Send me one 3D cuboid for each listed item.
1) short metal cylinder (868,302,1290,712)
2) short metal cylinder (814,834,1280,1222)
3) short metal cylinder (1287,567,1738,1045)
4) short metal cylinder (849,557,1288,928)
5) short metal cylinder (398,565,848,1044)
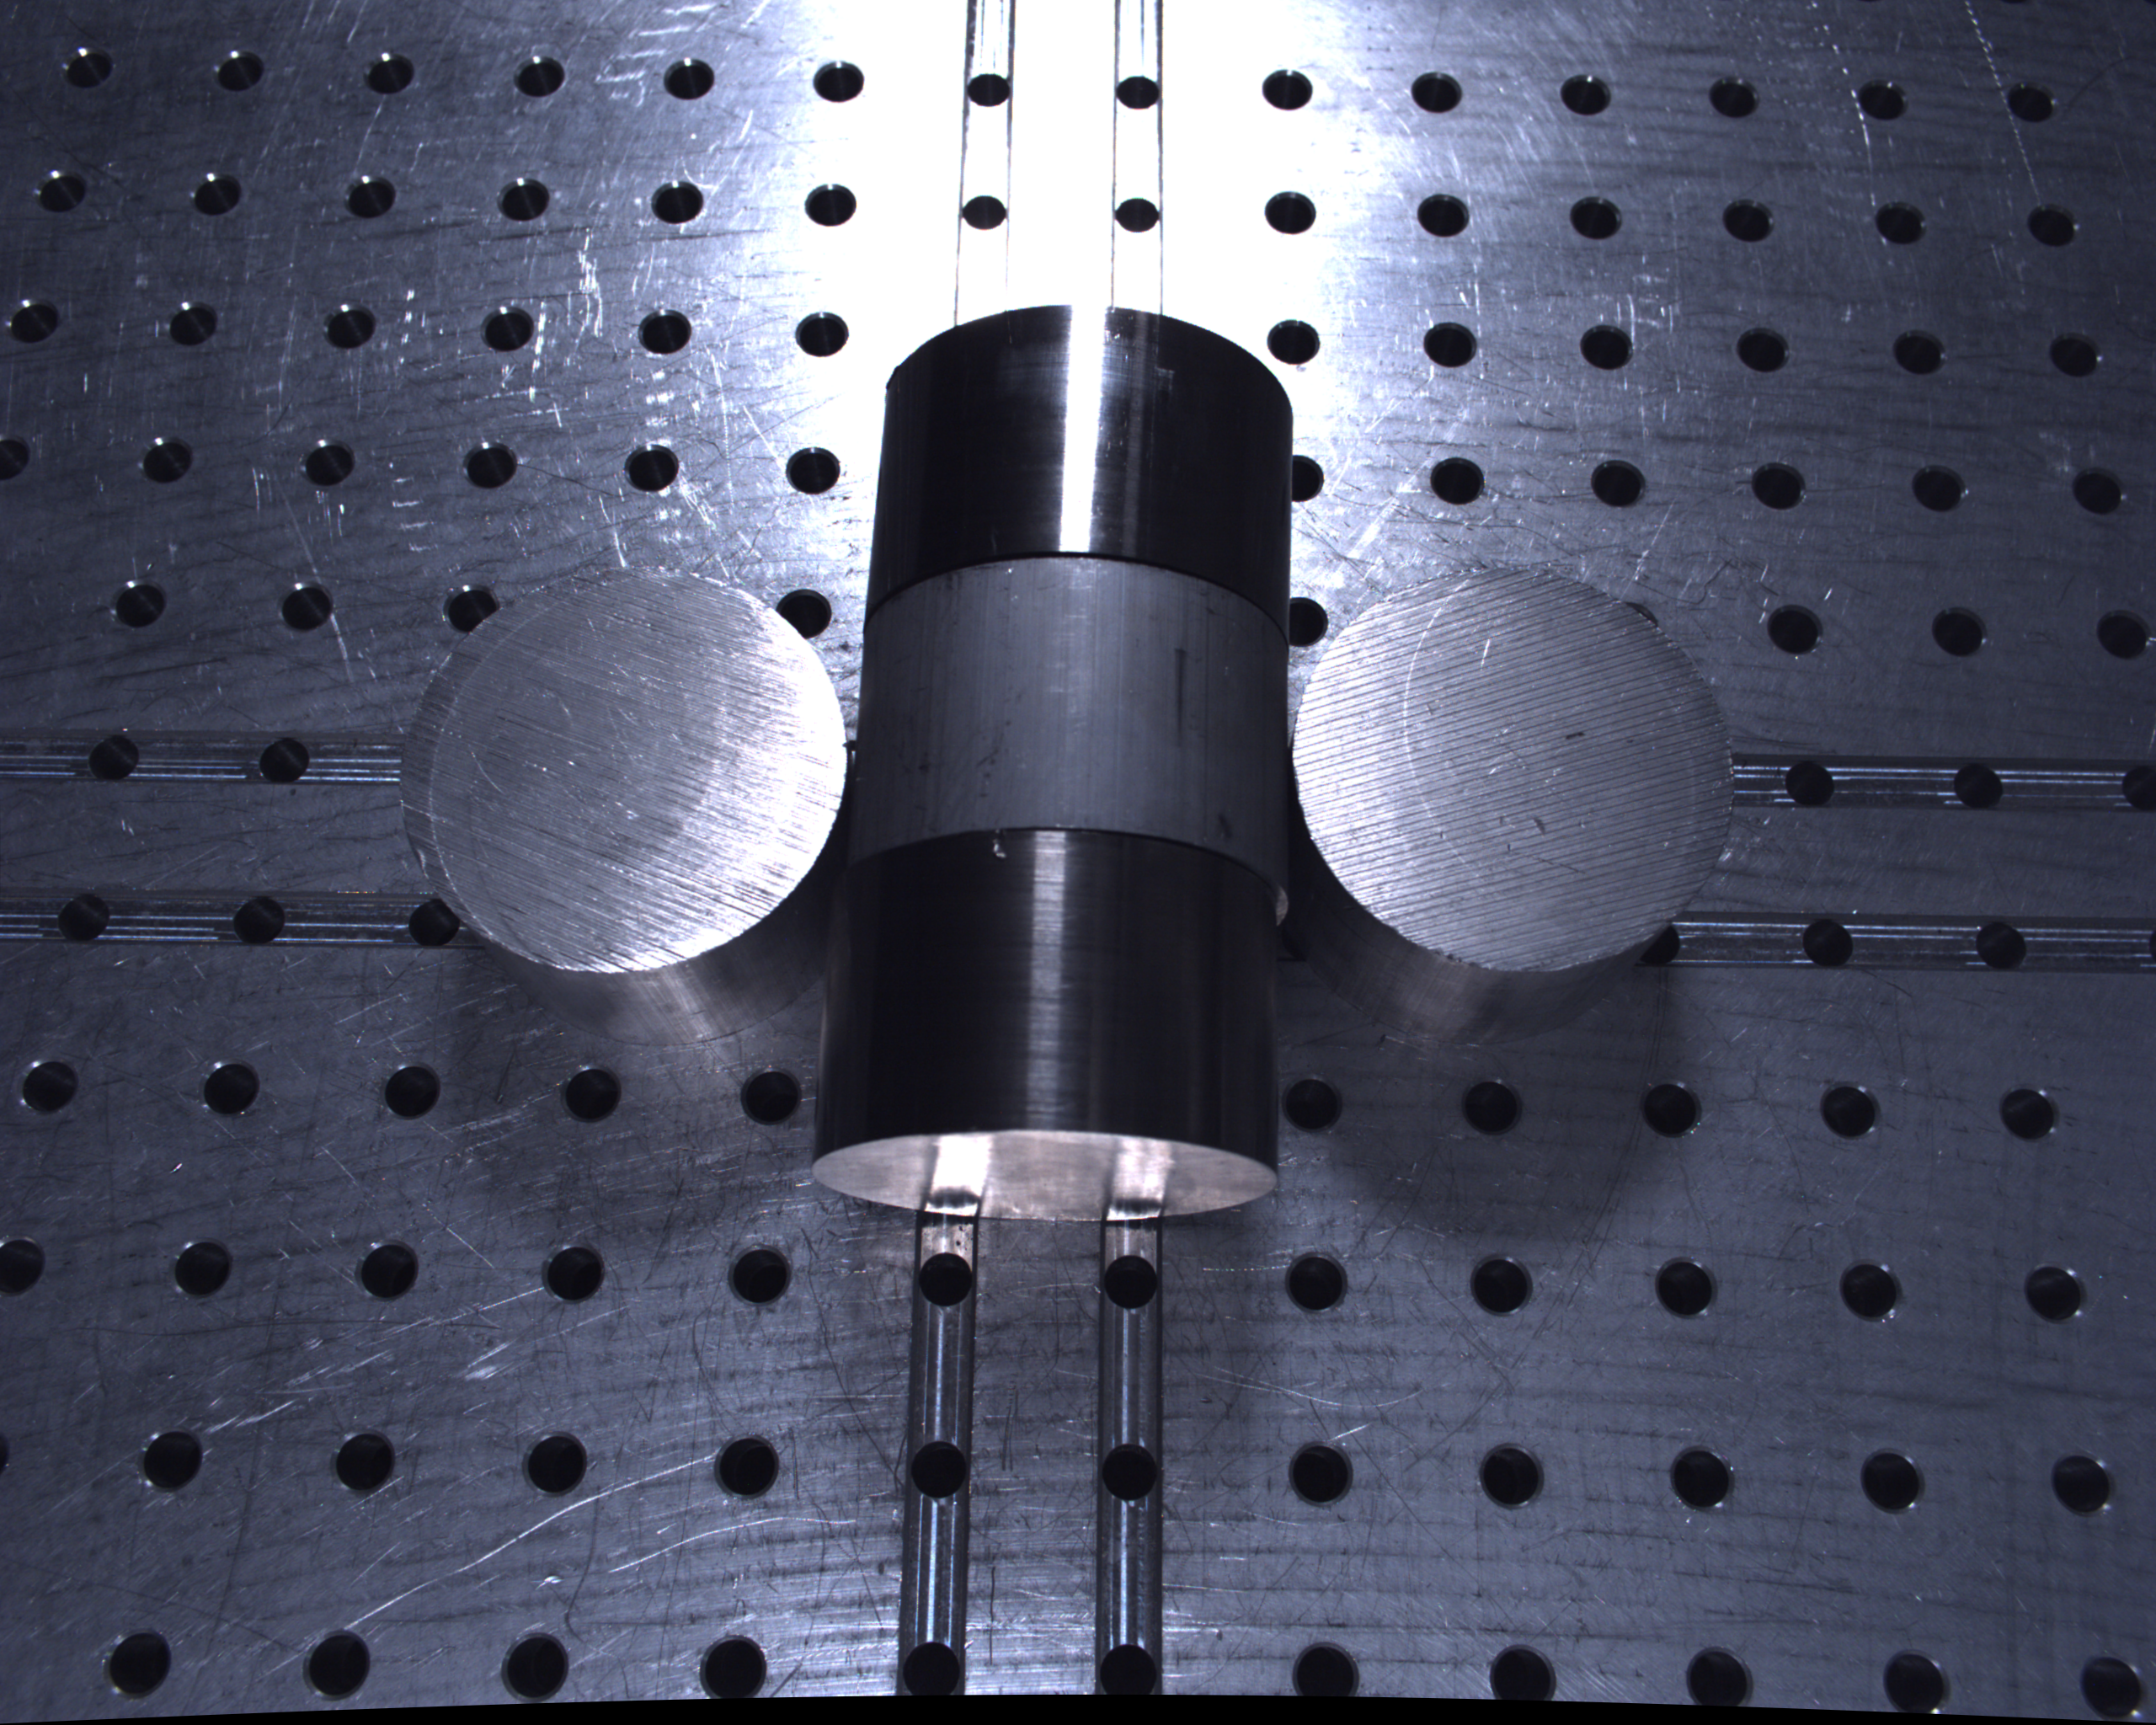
[{"bbox_3d":[0.001,-0.064,0.405,0.081,0.080,0.050,2,70,0],"label":"short metal cylinder"},{"bbox_3d":[-0.005,0.032,0.370,0.081,0.080,0.050,1,70,0],"label":"short metal cylinder"},{"bbox_3d":[0.079,-0.010,0.402,0.081,0.050,0.080,0,70,0],"label":"short metal cylinder"},{"bbox_3d":[-0.001,-0.016,0.388,0.081,0.080,0.050,2,70,0],"label":"short metal cylinder"},{"bbox_3d":[-0.082,-0.010,0.400,0.081,0.050,0.080,0,70,0],"label":"short metal cylinder"}]
